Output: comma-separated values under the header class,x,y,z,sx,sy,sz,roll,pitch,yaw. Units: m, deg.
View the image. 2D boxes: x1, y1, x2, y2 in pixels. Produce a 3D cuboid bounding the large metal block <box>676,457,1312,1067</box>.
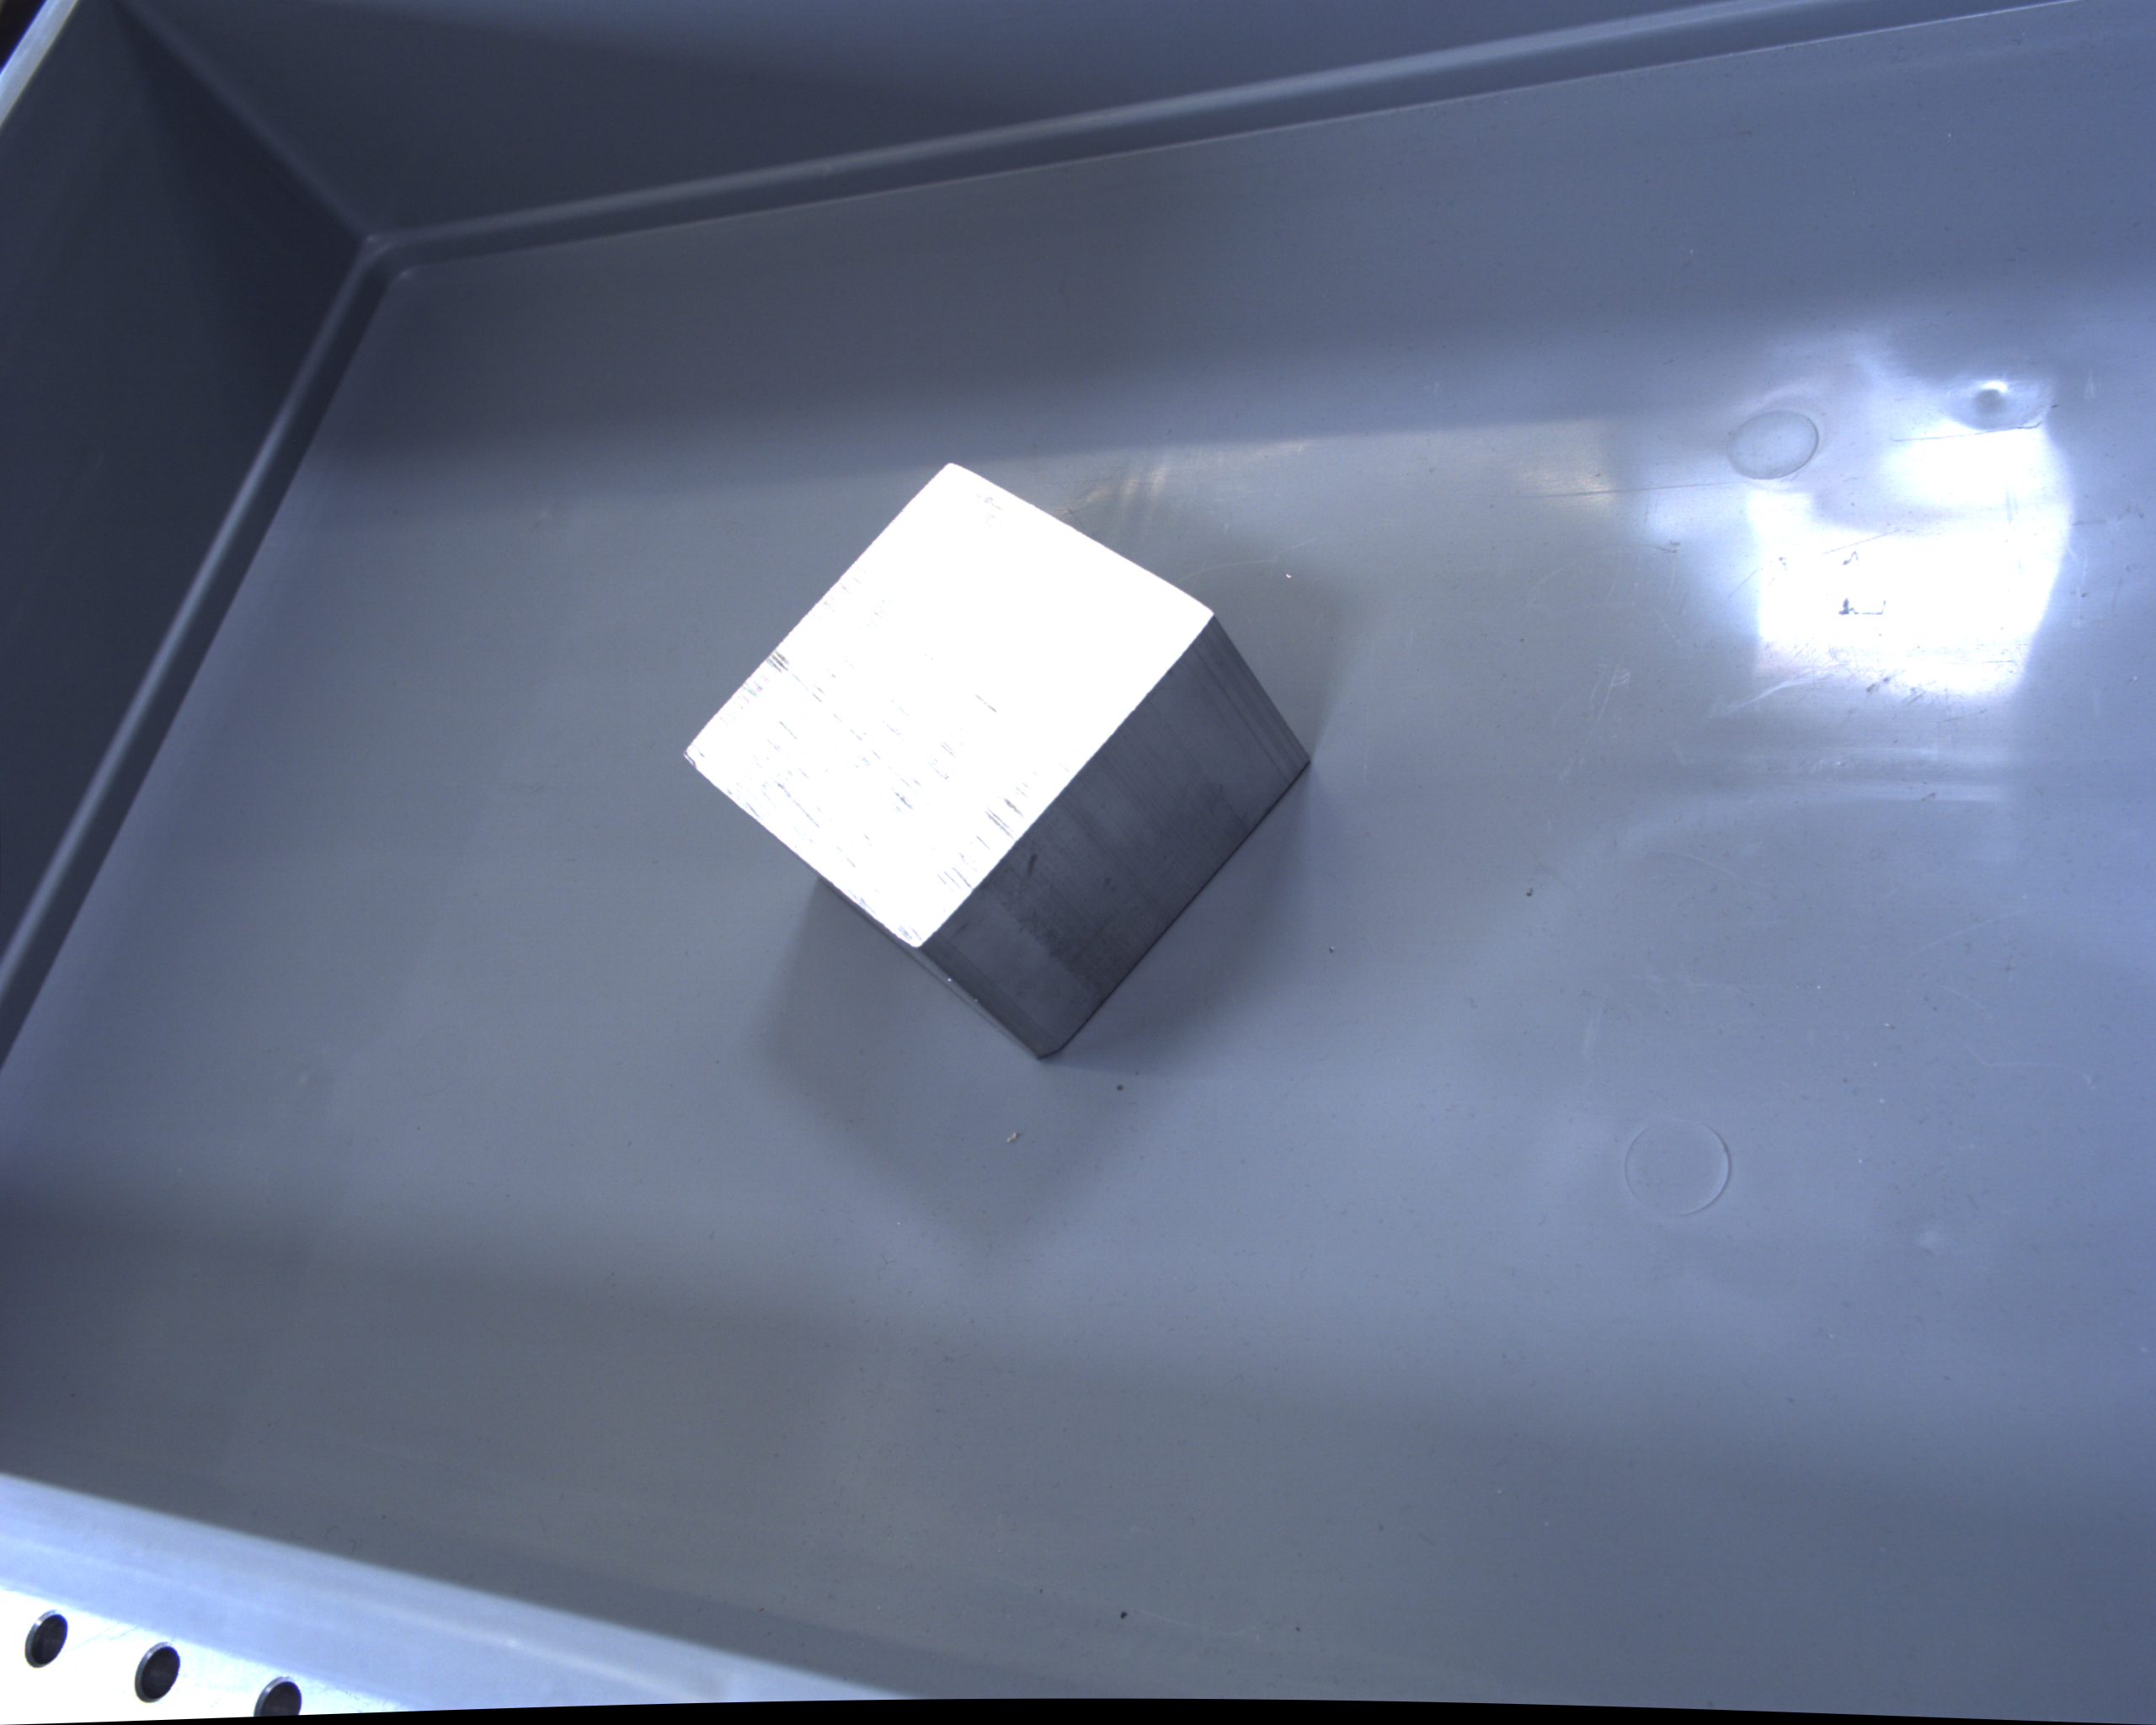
class,x,y,z,sx,sy,sz,roll,pitch,yaw
large metal block,-0.017,-0.021,0.408,0.080,0.050,0.080,-48,52,-7
